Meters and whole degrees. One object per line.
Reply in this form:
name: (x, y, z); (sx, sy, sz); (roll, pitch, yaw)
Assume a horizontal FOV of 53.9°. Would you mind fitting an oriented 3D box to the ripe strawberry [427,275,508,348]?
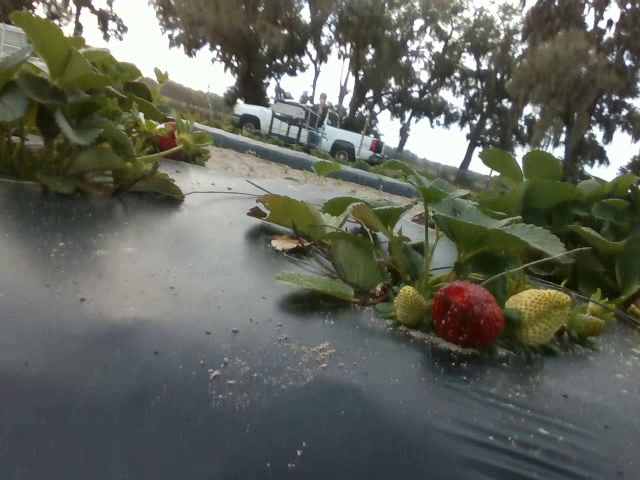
ripe strawberry: (0.082, 0.041, 0.345); (0.046, 0.046, 0.059); (10, -18, 16)
